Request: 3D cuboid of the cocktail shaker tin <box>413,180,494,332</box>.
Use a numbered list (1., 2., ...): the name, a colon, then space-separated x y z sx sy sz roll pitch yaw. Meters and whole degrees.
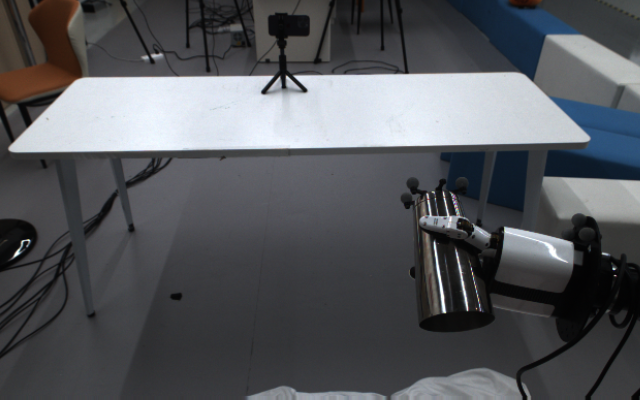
1. cocktail shaker tin: 0.164 0.075 0.631 0.093 0.093 0.170 0 59 -3
